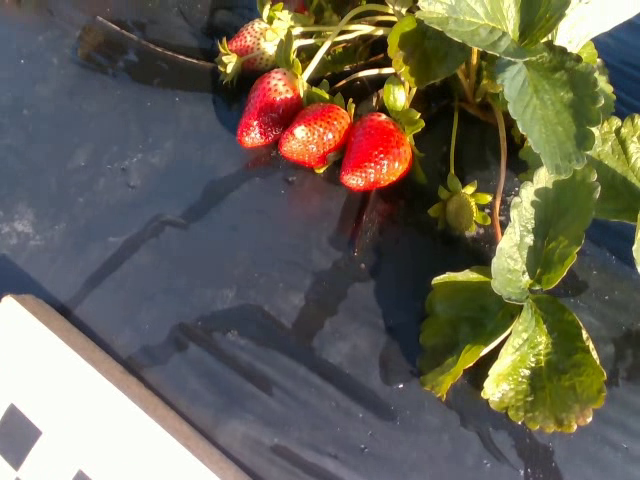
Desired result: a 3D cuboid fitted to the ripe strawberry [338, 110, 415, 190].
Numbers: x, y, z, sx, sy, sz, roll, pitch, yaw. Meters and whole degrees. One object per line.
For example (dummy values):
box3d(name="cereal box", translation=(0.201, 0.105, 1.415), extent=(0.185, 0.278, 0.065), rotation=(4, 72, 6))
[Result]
box3d(name="ripe strawberry", translation=(0.019, -0.034, 0.267), extent=(0.035, 0.034, 0.041), rotation=(29, 42, 19))

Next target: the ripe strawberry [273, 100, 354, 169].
box3d(name="ripe strawberry", translation=(-0.004, -0.049, 0.272), extent=(0.030, 0.037, 0.039), rotation=(44, 34, 17))

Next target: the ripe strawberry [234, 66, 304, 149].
box3d(name="ripe strawberry", translation=(-0.025, -0.063, 0.288), extent=(0.031, 0.046, 0.023), rotation=(33, -10, 18))
